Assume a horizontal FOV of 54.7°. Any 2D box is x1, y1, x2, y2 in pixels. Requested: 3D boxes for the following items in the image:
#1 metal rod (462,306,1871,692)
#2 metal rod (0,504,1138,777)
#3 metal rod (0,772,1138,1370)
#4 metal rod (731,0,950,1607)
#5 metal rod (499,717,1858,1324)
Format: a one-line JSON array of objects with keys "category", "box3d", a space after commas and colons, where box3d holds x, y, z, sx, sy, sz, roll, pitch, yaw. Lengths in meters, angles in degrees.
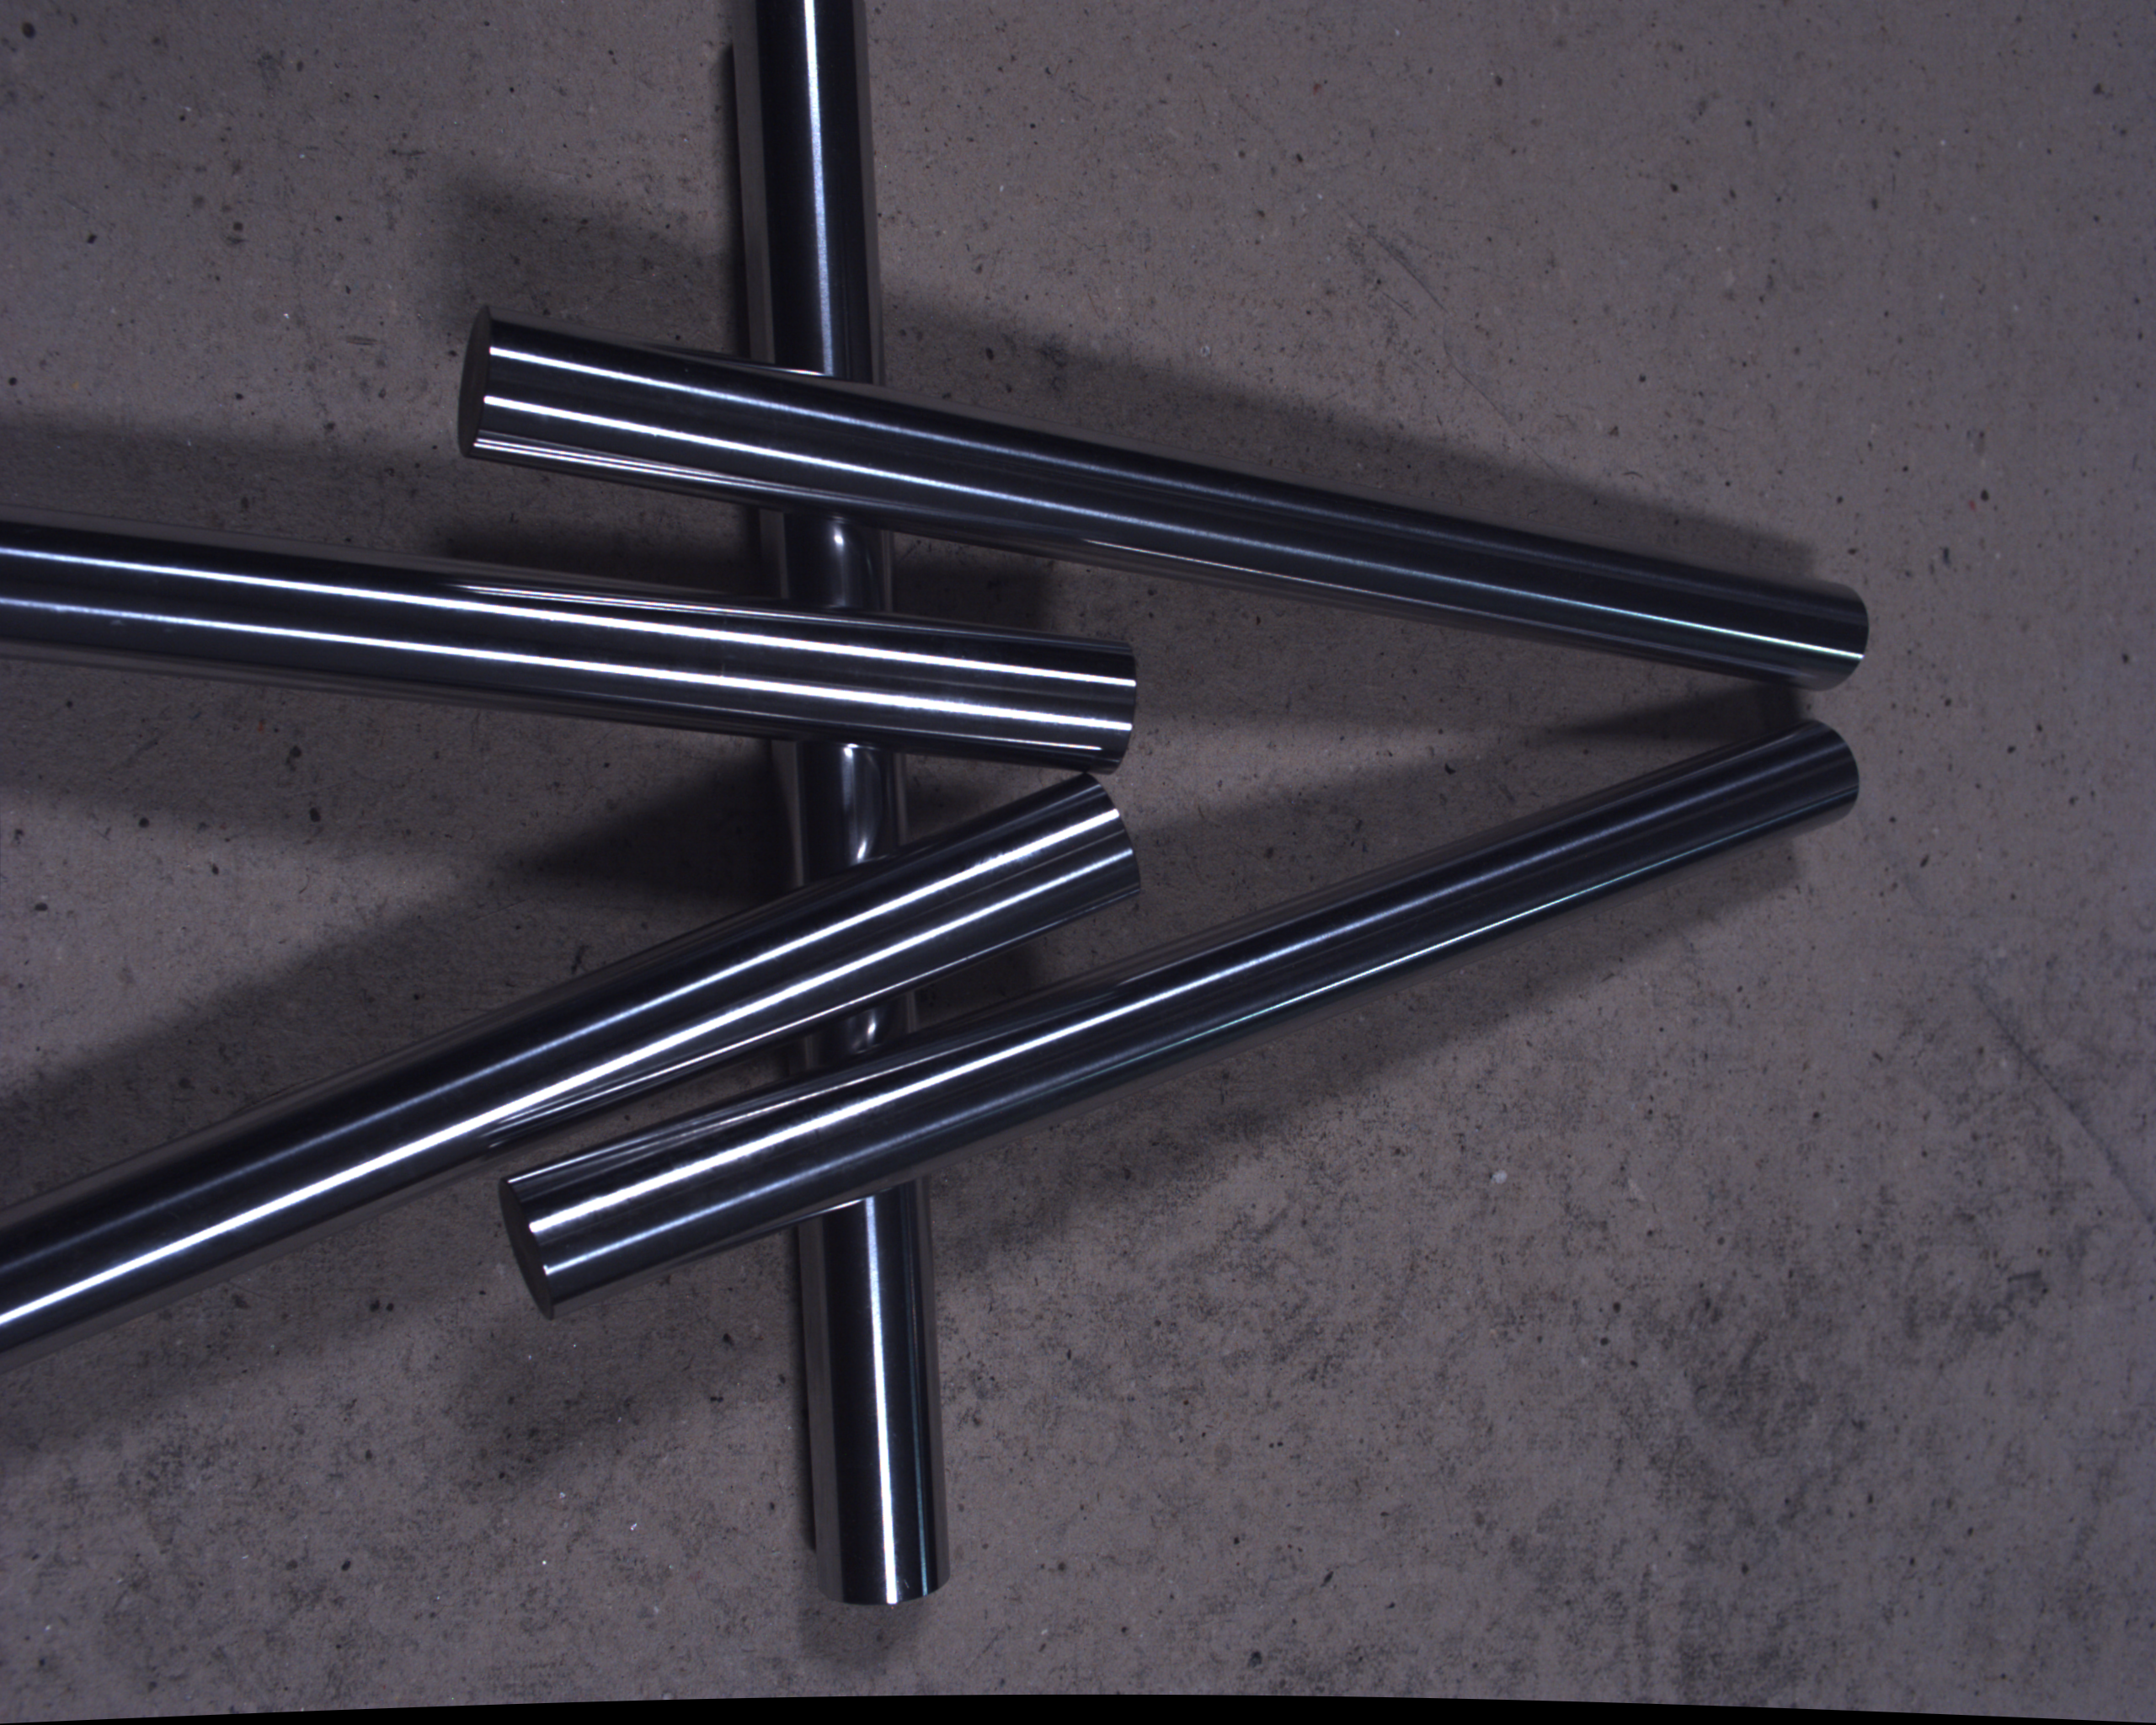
[{"category": "metal rod", "box3d": [0.036, -0.065, 0.407, 0.302, 0.025, 0.025, 6, 88, -27]}, {"category": "metal rod", "box3d": [-0.138, -0.042, 0.344, 0.302, 0.025, 0.025, 5, 88, -15]}, {"category": "metal rod", "box3d": [-0.130, 0.051, 0.348, 0.302, 0.025, 0.025, -22, 98, -14]}, {"category": "metal rod", "box3d": [-0.045, -0.012, 0.394, 0.025, 0.025, 0.298, -3, 91, -20]}, {"category": "metal rod", "box3d": [0.038, 0.022, 0.409, 0.302, 0.025, 0.025, -18, 97, -26]}]
